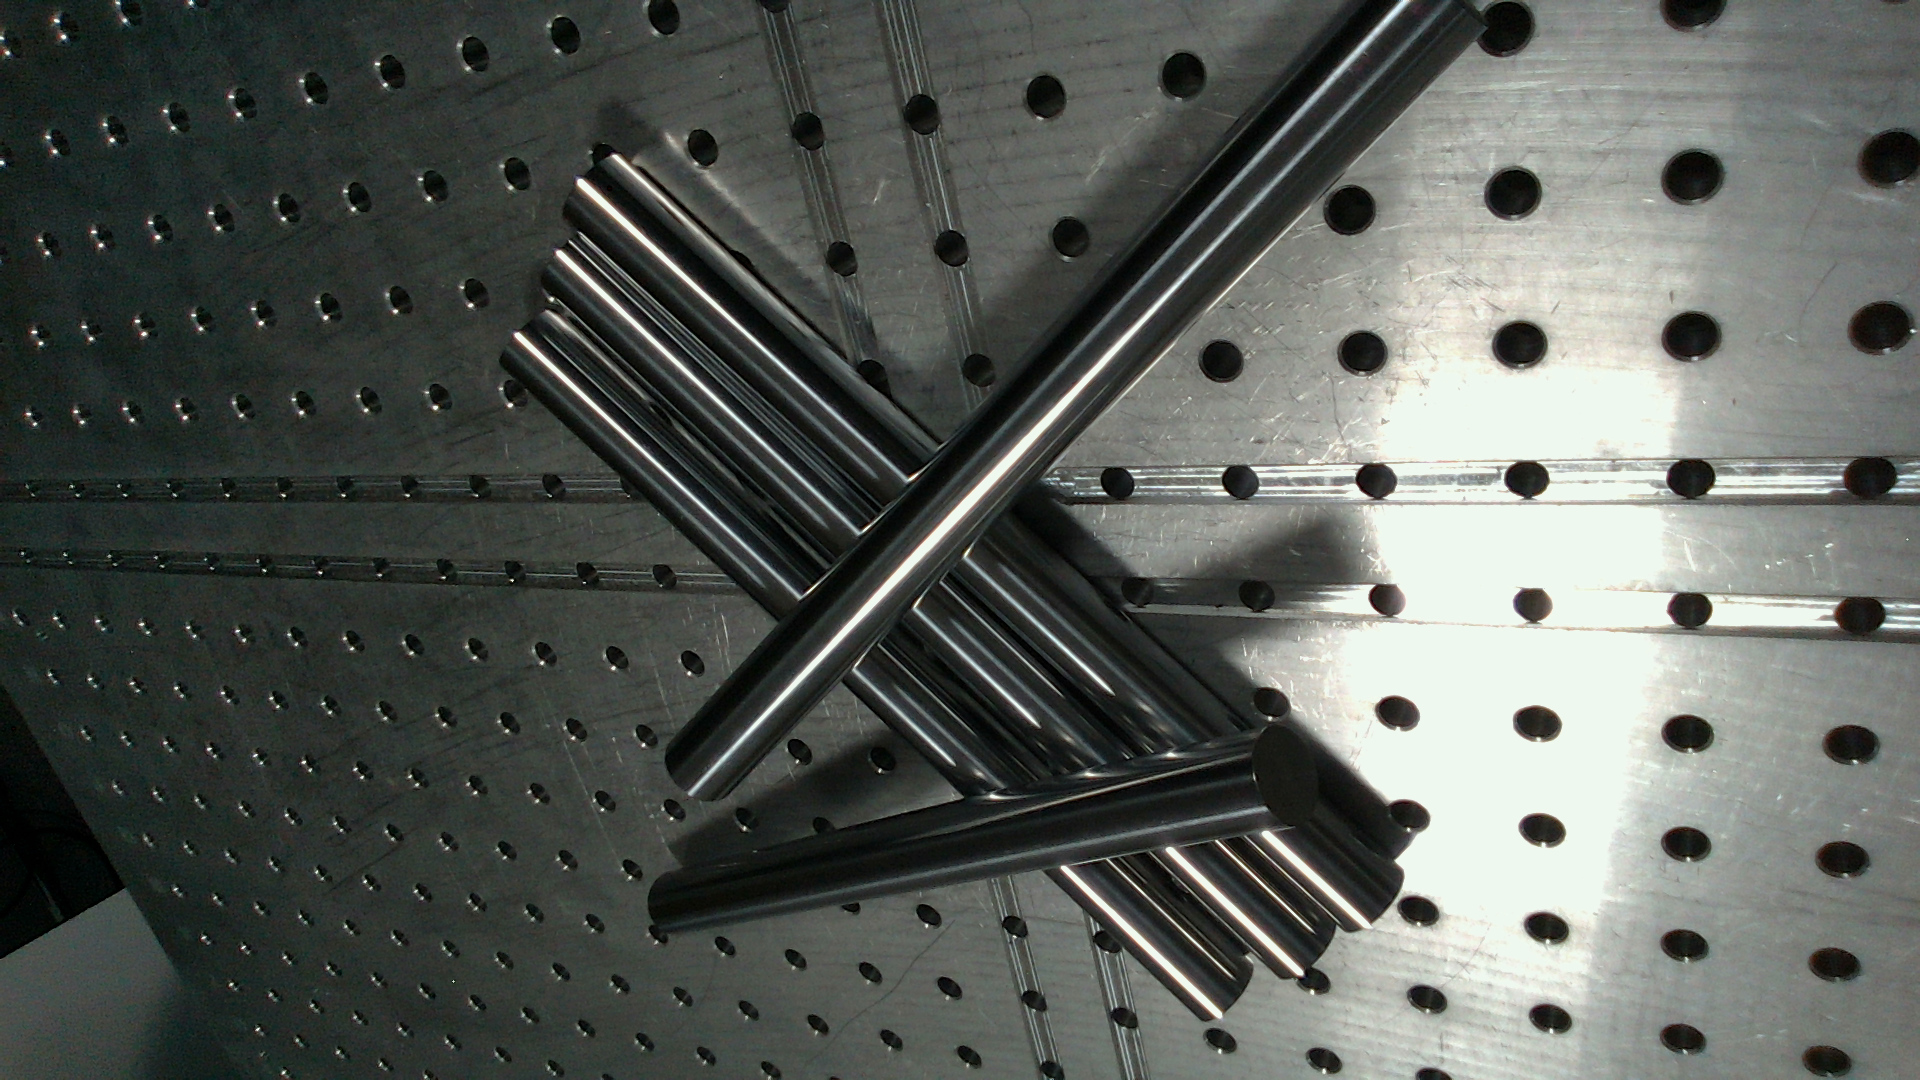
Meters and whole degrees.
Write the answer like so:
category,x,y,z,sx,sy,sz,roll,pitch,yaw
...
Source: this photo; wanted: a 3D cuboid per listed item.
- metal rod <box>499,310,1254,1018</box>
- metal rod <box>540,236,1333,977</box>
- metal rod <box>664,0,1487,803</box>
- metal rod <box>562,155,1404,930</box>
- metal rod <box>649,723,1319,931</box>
category,x,y,z,sx,sy,sz,roll,pitch,yaw
metal rod,-0.025,0.040,0.434,0.300,0.025,0.025,43,129,-2
metal rod,-0.005,0.019,0.411,0.300,0.025,0.025,43,129,-2
metal rod,0.008,-0.020,0.353,0.025,0.025,0.299,43,121,-2
metal rod,0.007,0.001,0.393,0.300,0.025,0.025,42,129,-1
metal rod,-0.016,0.100,0.440,0.299,0.025,0.025,-24,106,45
